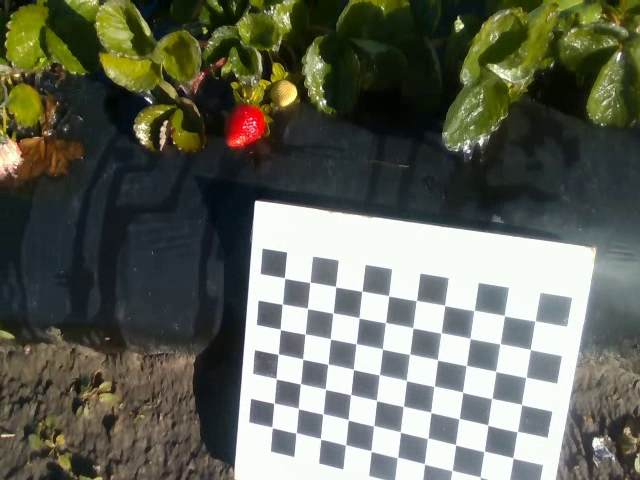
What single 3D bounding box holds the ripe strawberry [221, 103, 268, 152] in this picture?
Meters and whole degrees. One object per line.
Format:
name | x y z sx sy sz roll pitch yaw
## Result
ripe strawberry | -0.056 -0.075 0.538 0.039 0.040 0.039 0 35 29
